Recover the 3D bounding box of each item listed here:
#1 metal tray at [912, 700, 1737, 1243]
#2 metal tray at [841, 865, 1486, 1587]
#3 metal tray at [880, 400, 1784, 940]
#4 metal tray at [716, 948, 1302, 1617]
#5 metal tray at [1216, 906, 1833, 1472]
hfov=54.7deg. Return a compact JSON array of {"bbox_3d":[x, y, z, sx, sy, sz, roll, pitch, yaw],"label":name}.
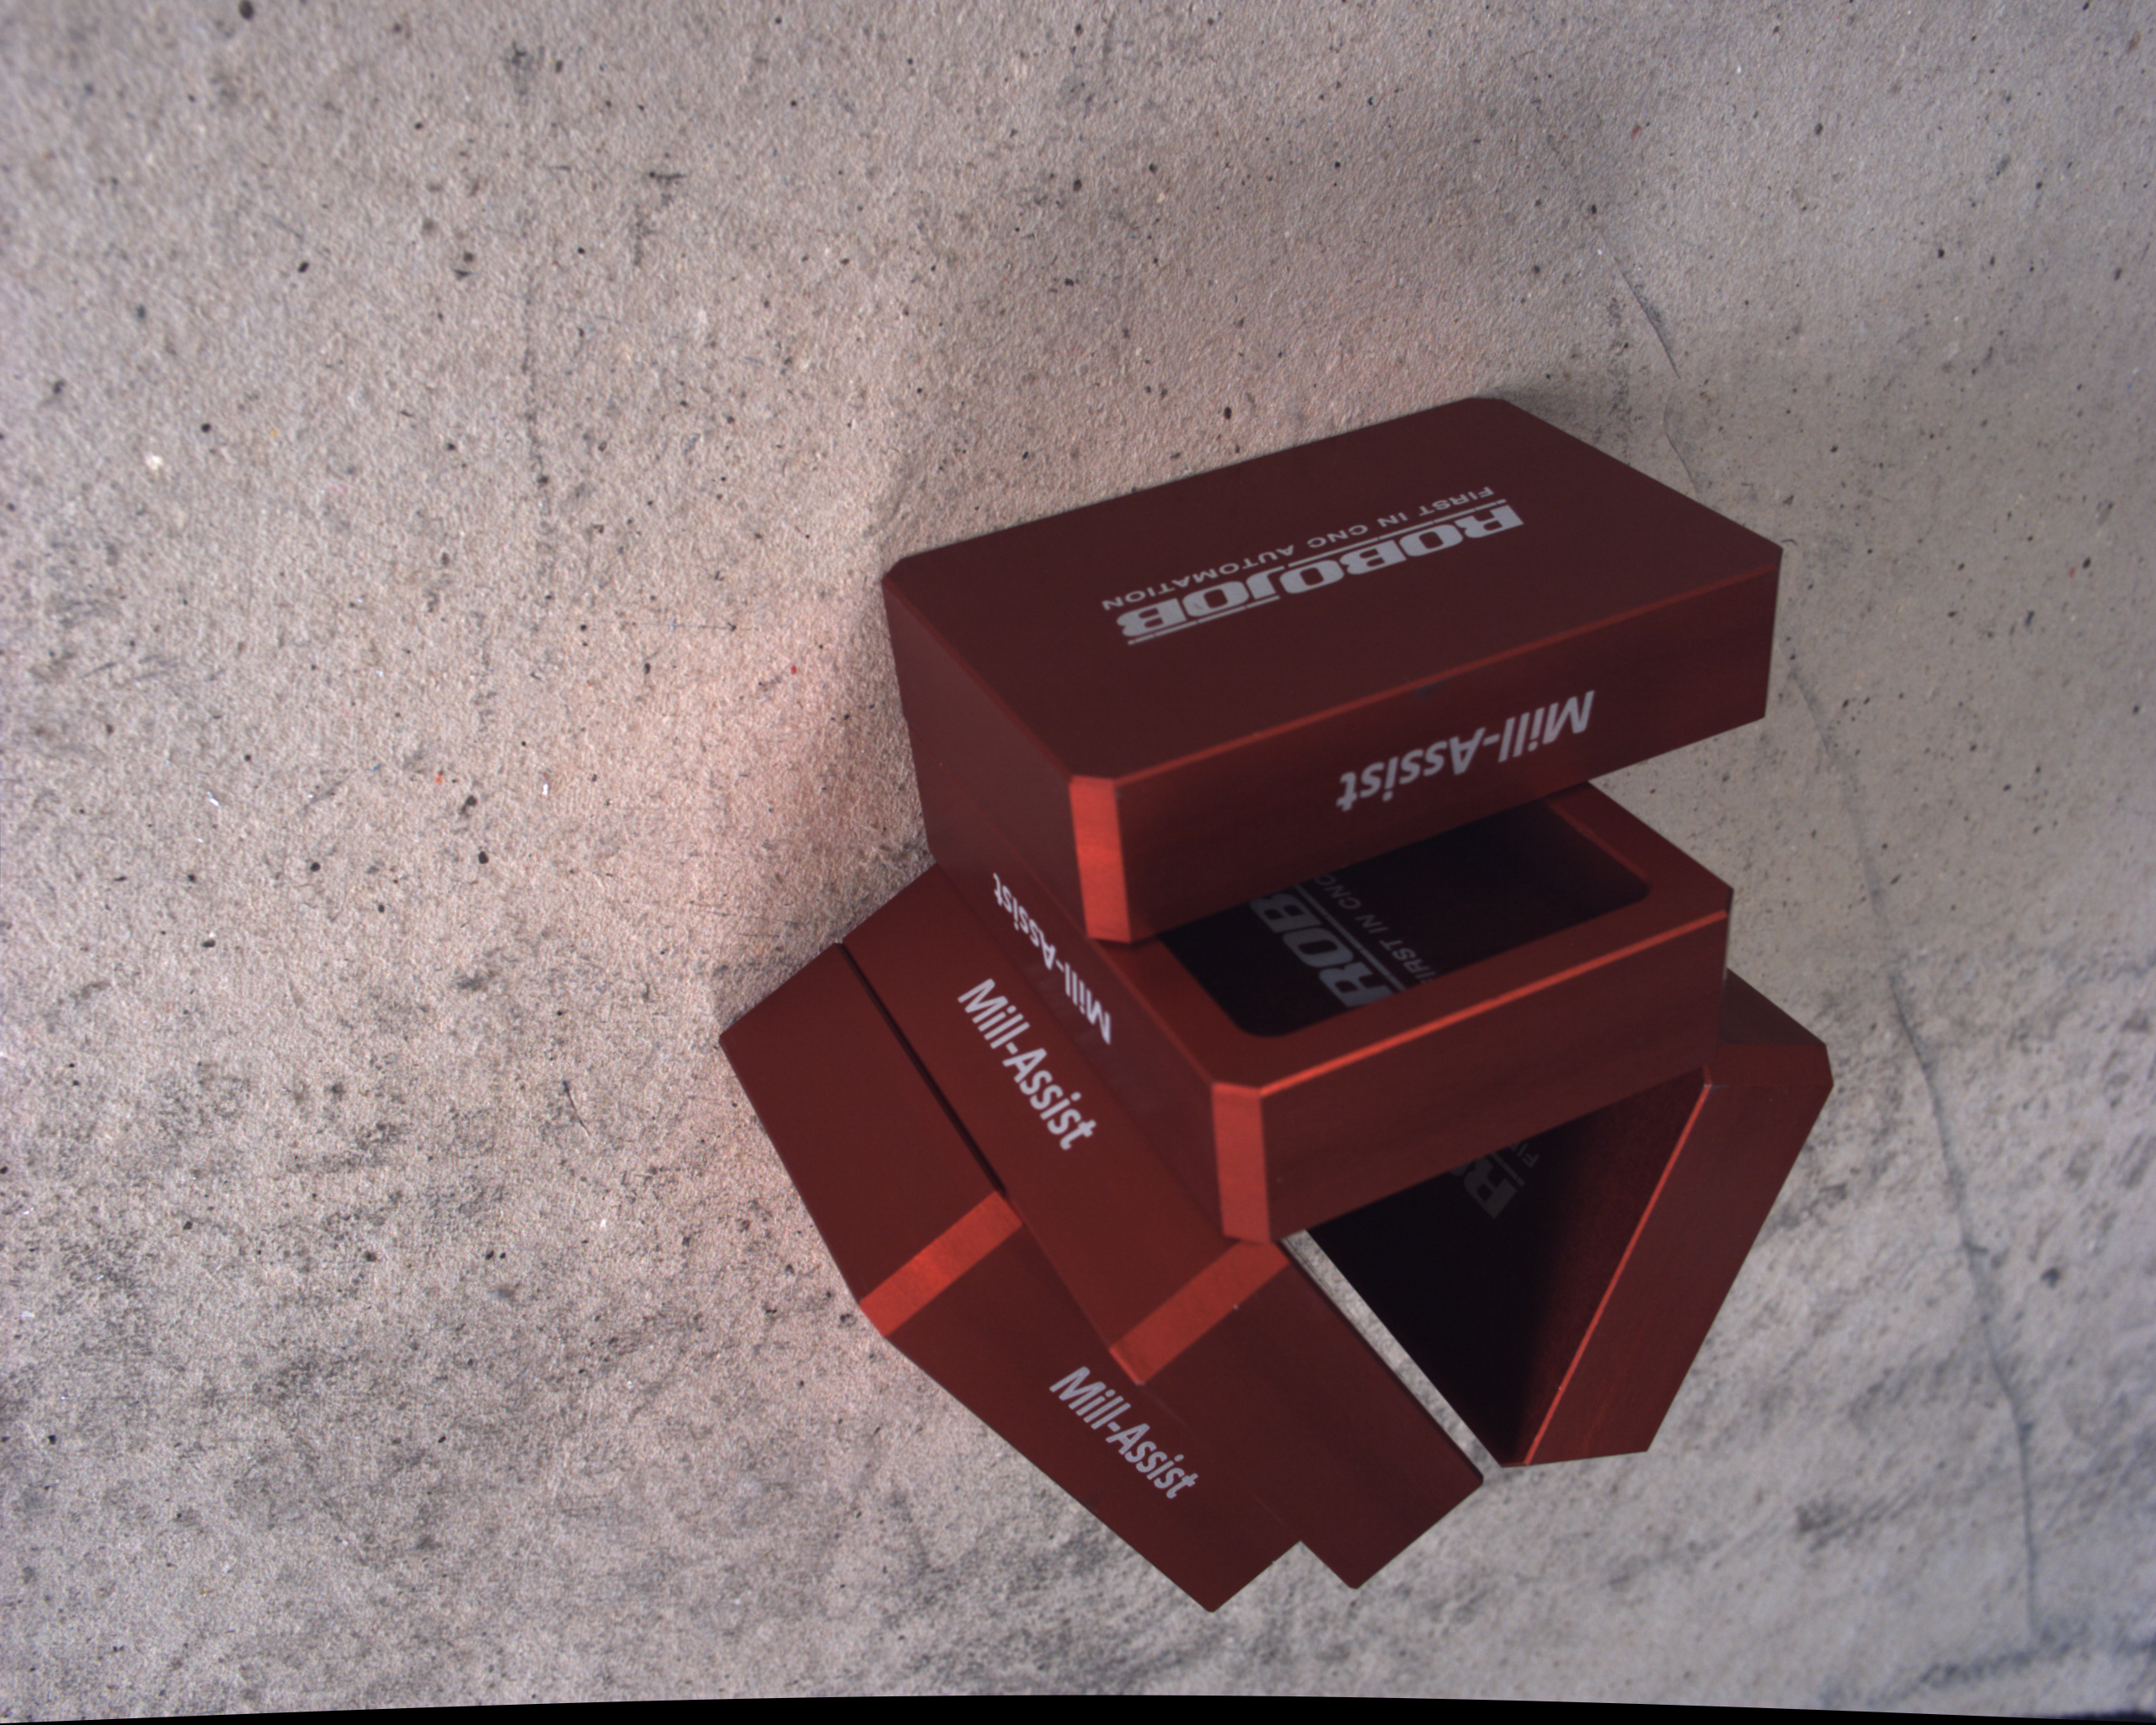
[{"bbox_3d":[0.036,0.001,0.360,0.091,0.130,0.030,-19,126,-17],"label":"metal tray"},{"bbox_3d":[0.013,0.061,0.385,0.030,0.130,0.090,-40,129,-2],"label":"metal tray"},{"bbox_3d":[0.042,-0.039,0.364,0.131,0.090,0.030,-19,126,-18],"label":"metal tray"},{"bbox_3d":[-0.010,0.083,0.411,0.030,0.090,0.130,-40,130,-1],"label":"metal tray"},{"bbox_3d":[0.075,0.041,0.406,0.030,0.130,0.089,5,116,-31],"label":"metal tray"}]
